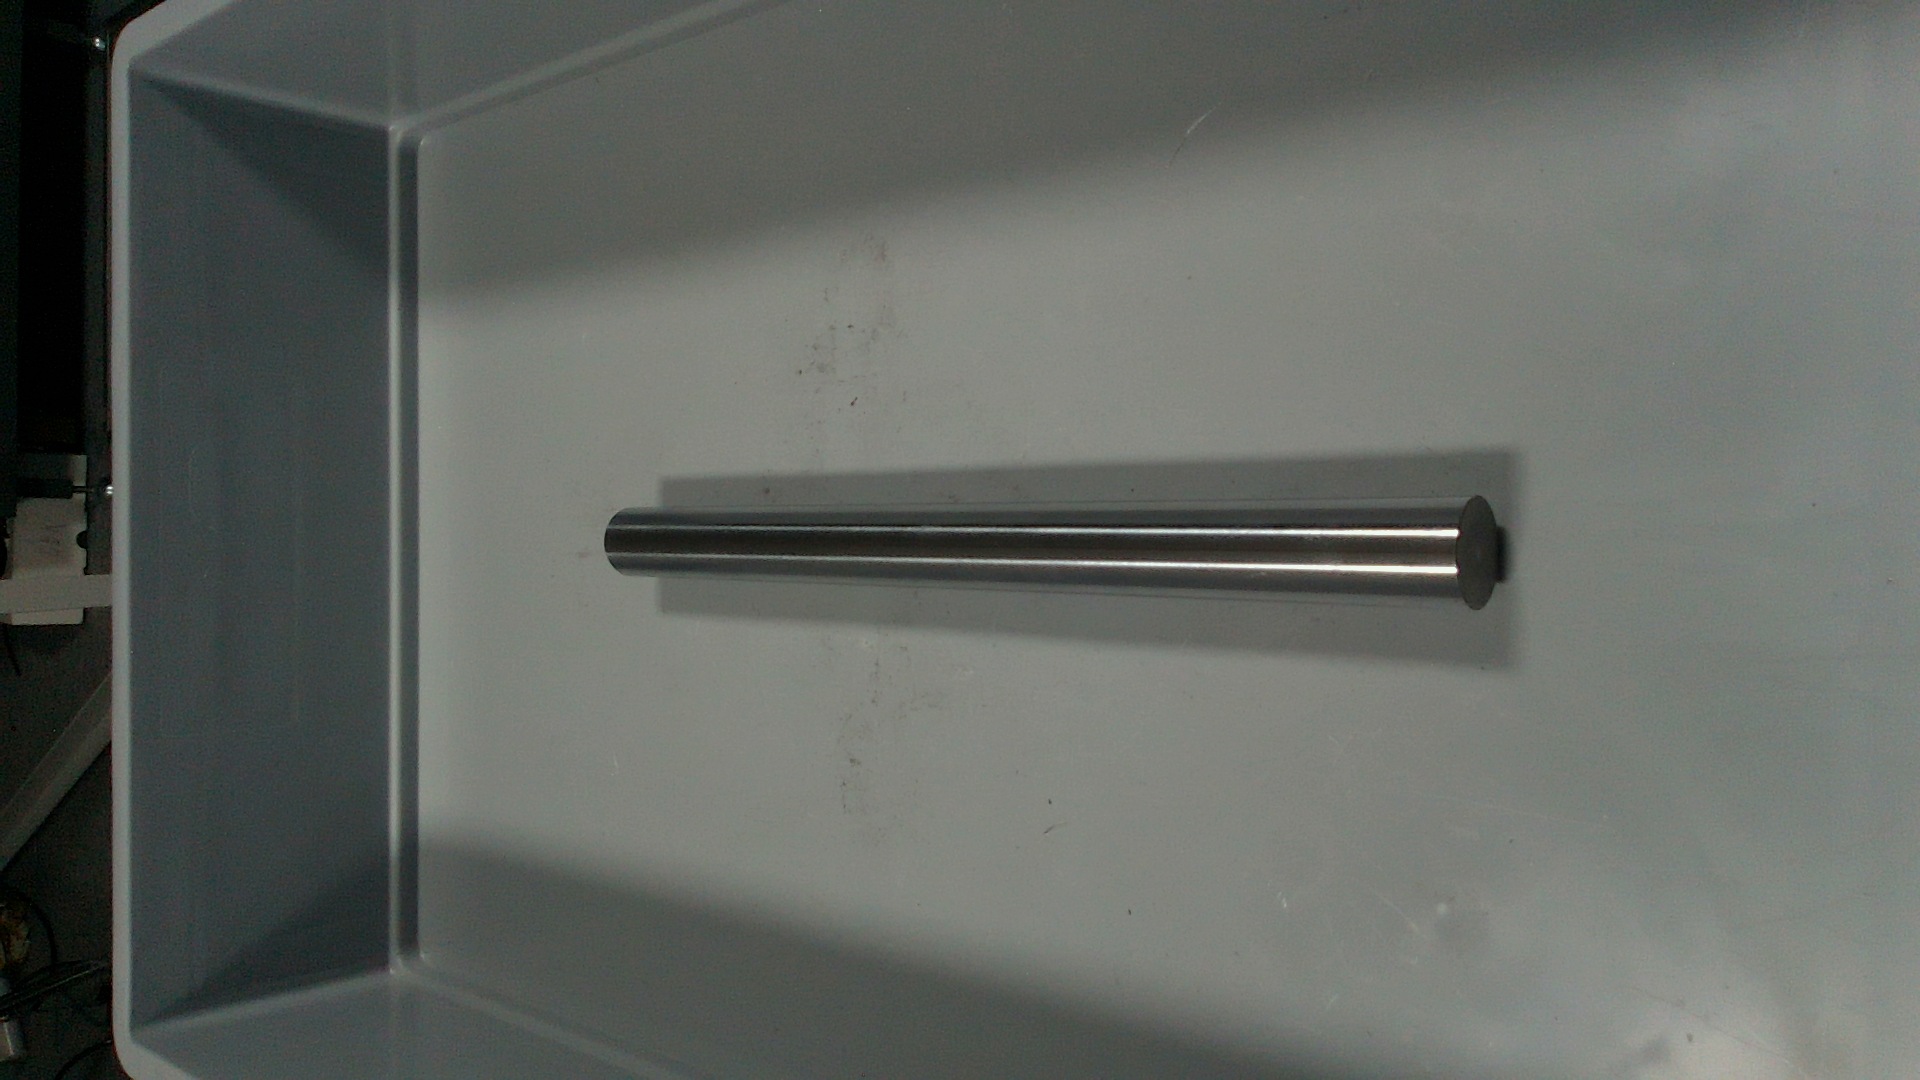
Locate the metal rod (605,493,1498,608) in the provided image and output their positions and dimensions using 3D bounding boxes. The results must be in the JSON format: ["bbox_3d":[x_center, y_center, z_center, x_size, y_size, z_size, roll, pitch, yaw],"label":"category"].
[{"bbox_3d":[-0.002,0.002,0.394,0.299,0.025,0.025,0,90,40],"label":"metal rod"}]
